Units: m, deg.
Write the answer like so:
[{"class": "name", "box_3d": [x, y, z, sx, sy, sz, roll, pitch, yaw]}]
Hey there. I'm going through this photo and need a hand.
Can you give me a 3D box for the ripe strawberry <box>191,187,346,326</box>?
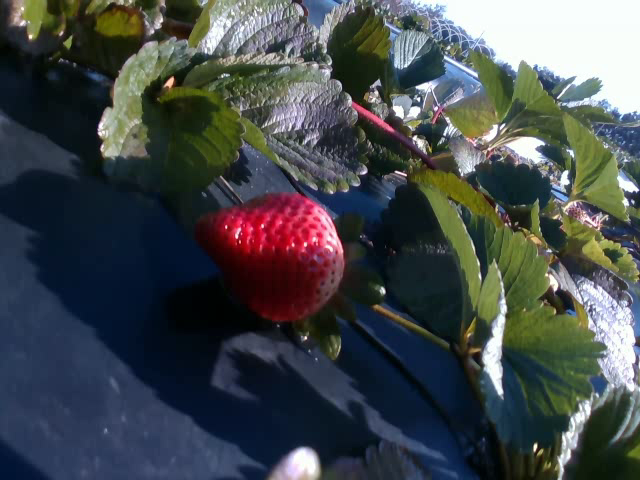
[{"class": "ripe strawberry", "box_3d": [-0.015, 0.004, 0.165, 0.044, 0.042, 0.055, -10, -21, 36]}]
